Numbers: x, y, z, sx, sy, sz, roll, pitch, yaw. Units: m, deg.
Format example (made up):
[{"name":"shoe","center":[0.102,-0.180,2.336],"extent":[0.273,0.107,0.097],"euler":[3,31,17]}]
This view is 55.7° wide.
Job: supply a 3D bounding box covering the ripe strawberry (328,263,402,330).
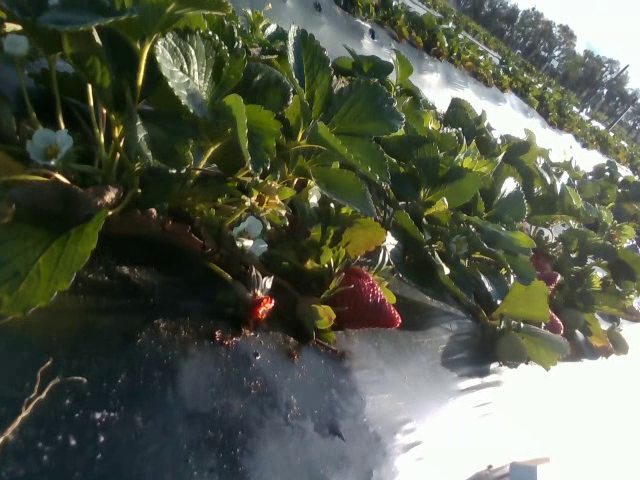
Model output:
[{"name":"ripe strawberry","center":[0.032,0.042,0.383],"extent":[0.051,0.041,0.052],"euler":[25,35,29]}]
